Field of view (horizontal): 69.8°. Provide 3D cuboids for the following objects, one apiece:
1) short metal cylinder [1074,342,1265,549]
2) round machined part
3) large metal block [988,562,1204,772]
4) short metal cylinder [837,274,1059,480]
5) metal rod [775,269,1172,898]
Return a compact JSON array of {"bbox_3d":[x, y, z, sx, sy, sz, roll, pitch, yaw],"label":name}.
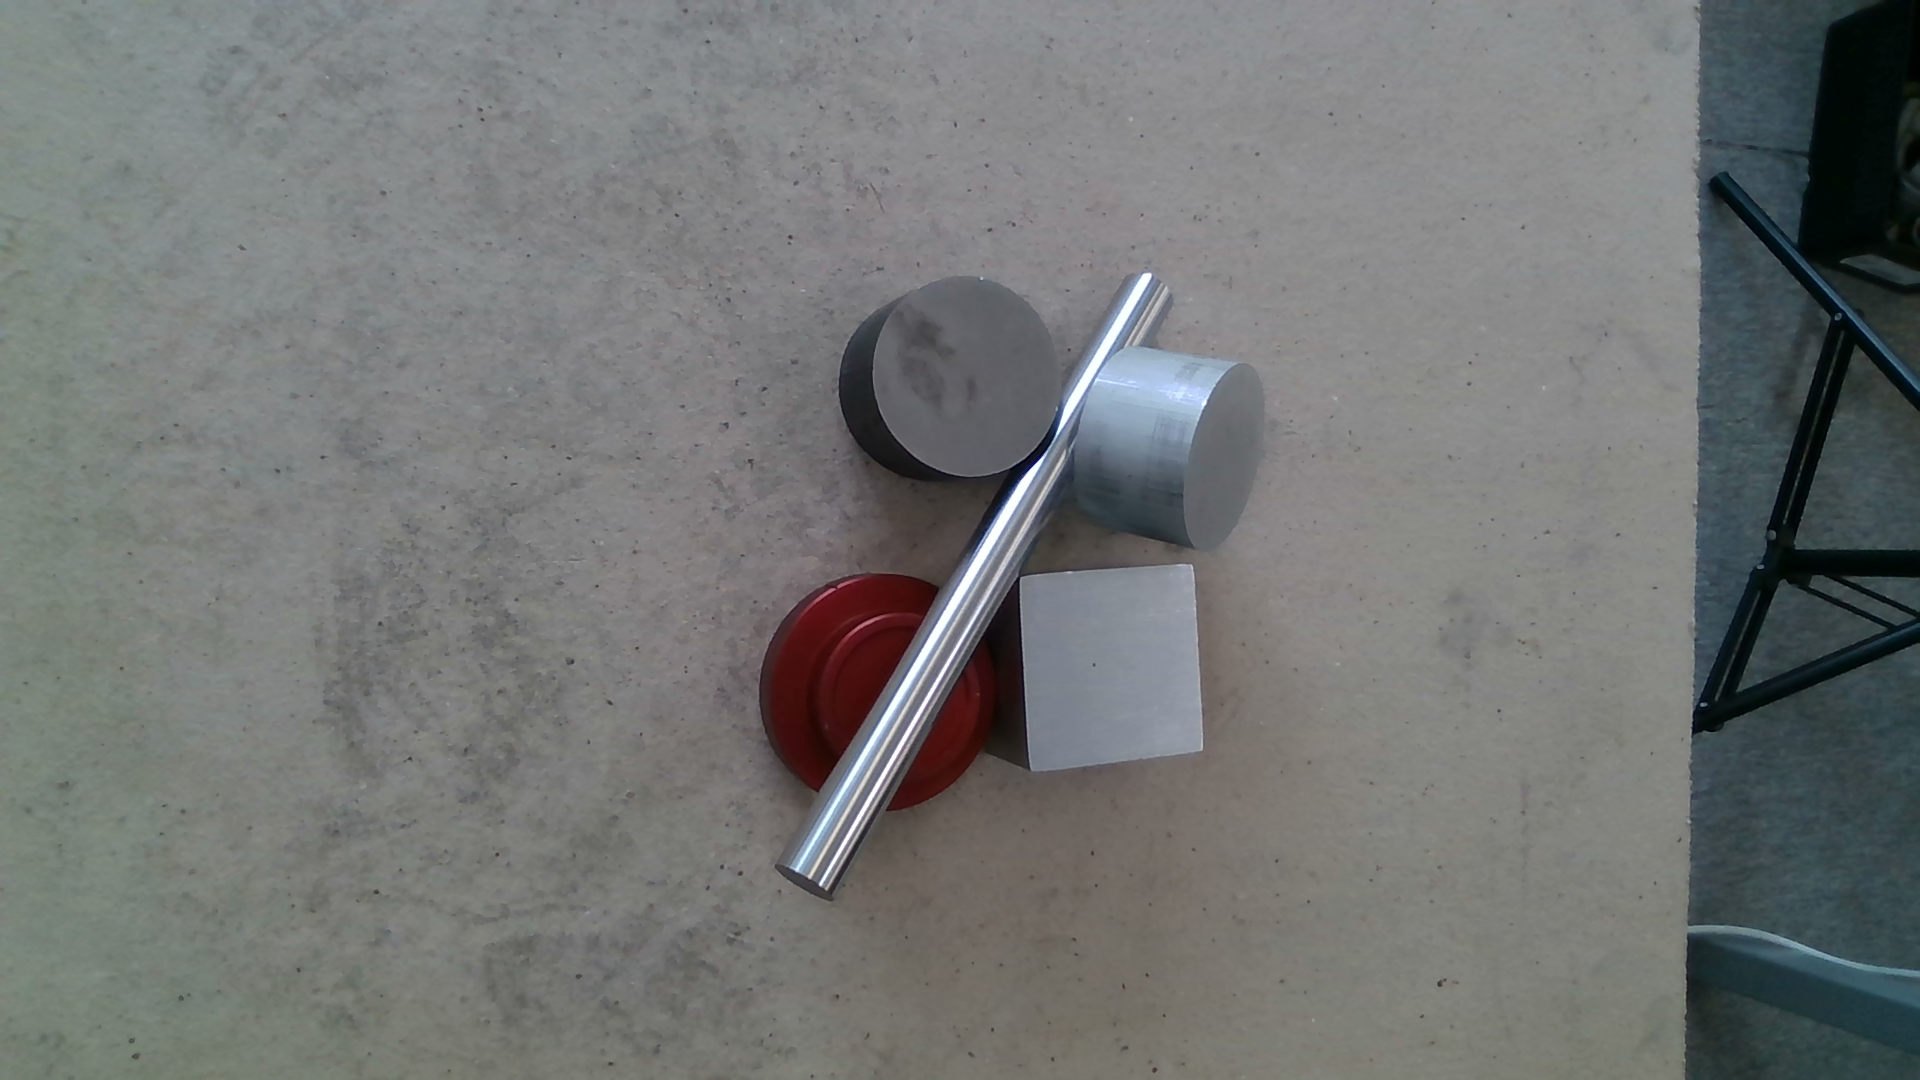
[{"bbox_3d":[0.090,-0.041,0.586,0.080,0.050,0.080,-31,129,-49],"label":"short metal cylinder"},{"bbox_3d":[-0.031,0.062,0.566,0.098,0.042,0.098,0,90,-20],"label":"round machined part"},{"bbox_3d":[0.055,0.052,0.592,0.080,0.050,0.080,-4,91,-20],"label":"large metal block"},{"bbox_3d":[-0.006,-0.066,0.572,0.080,0.050,0.080,0,90,-20],"label":"short metal cylinder"},{"bbox_3d":[0.014,0.005,0.556,0.025,0.025,0.299,38,65,-16],"label":"metal rod"}]
